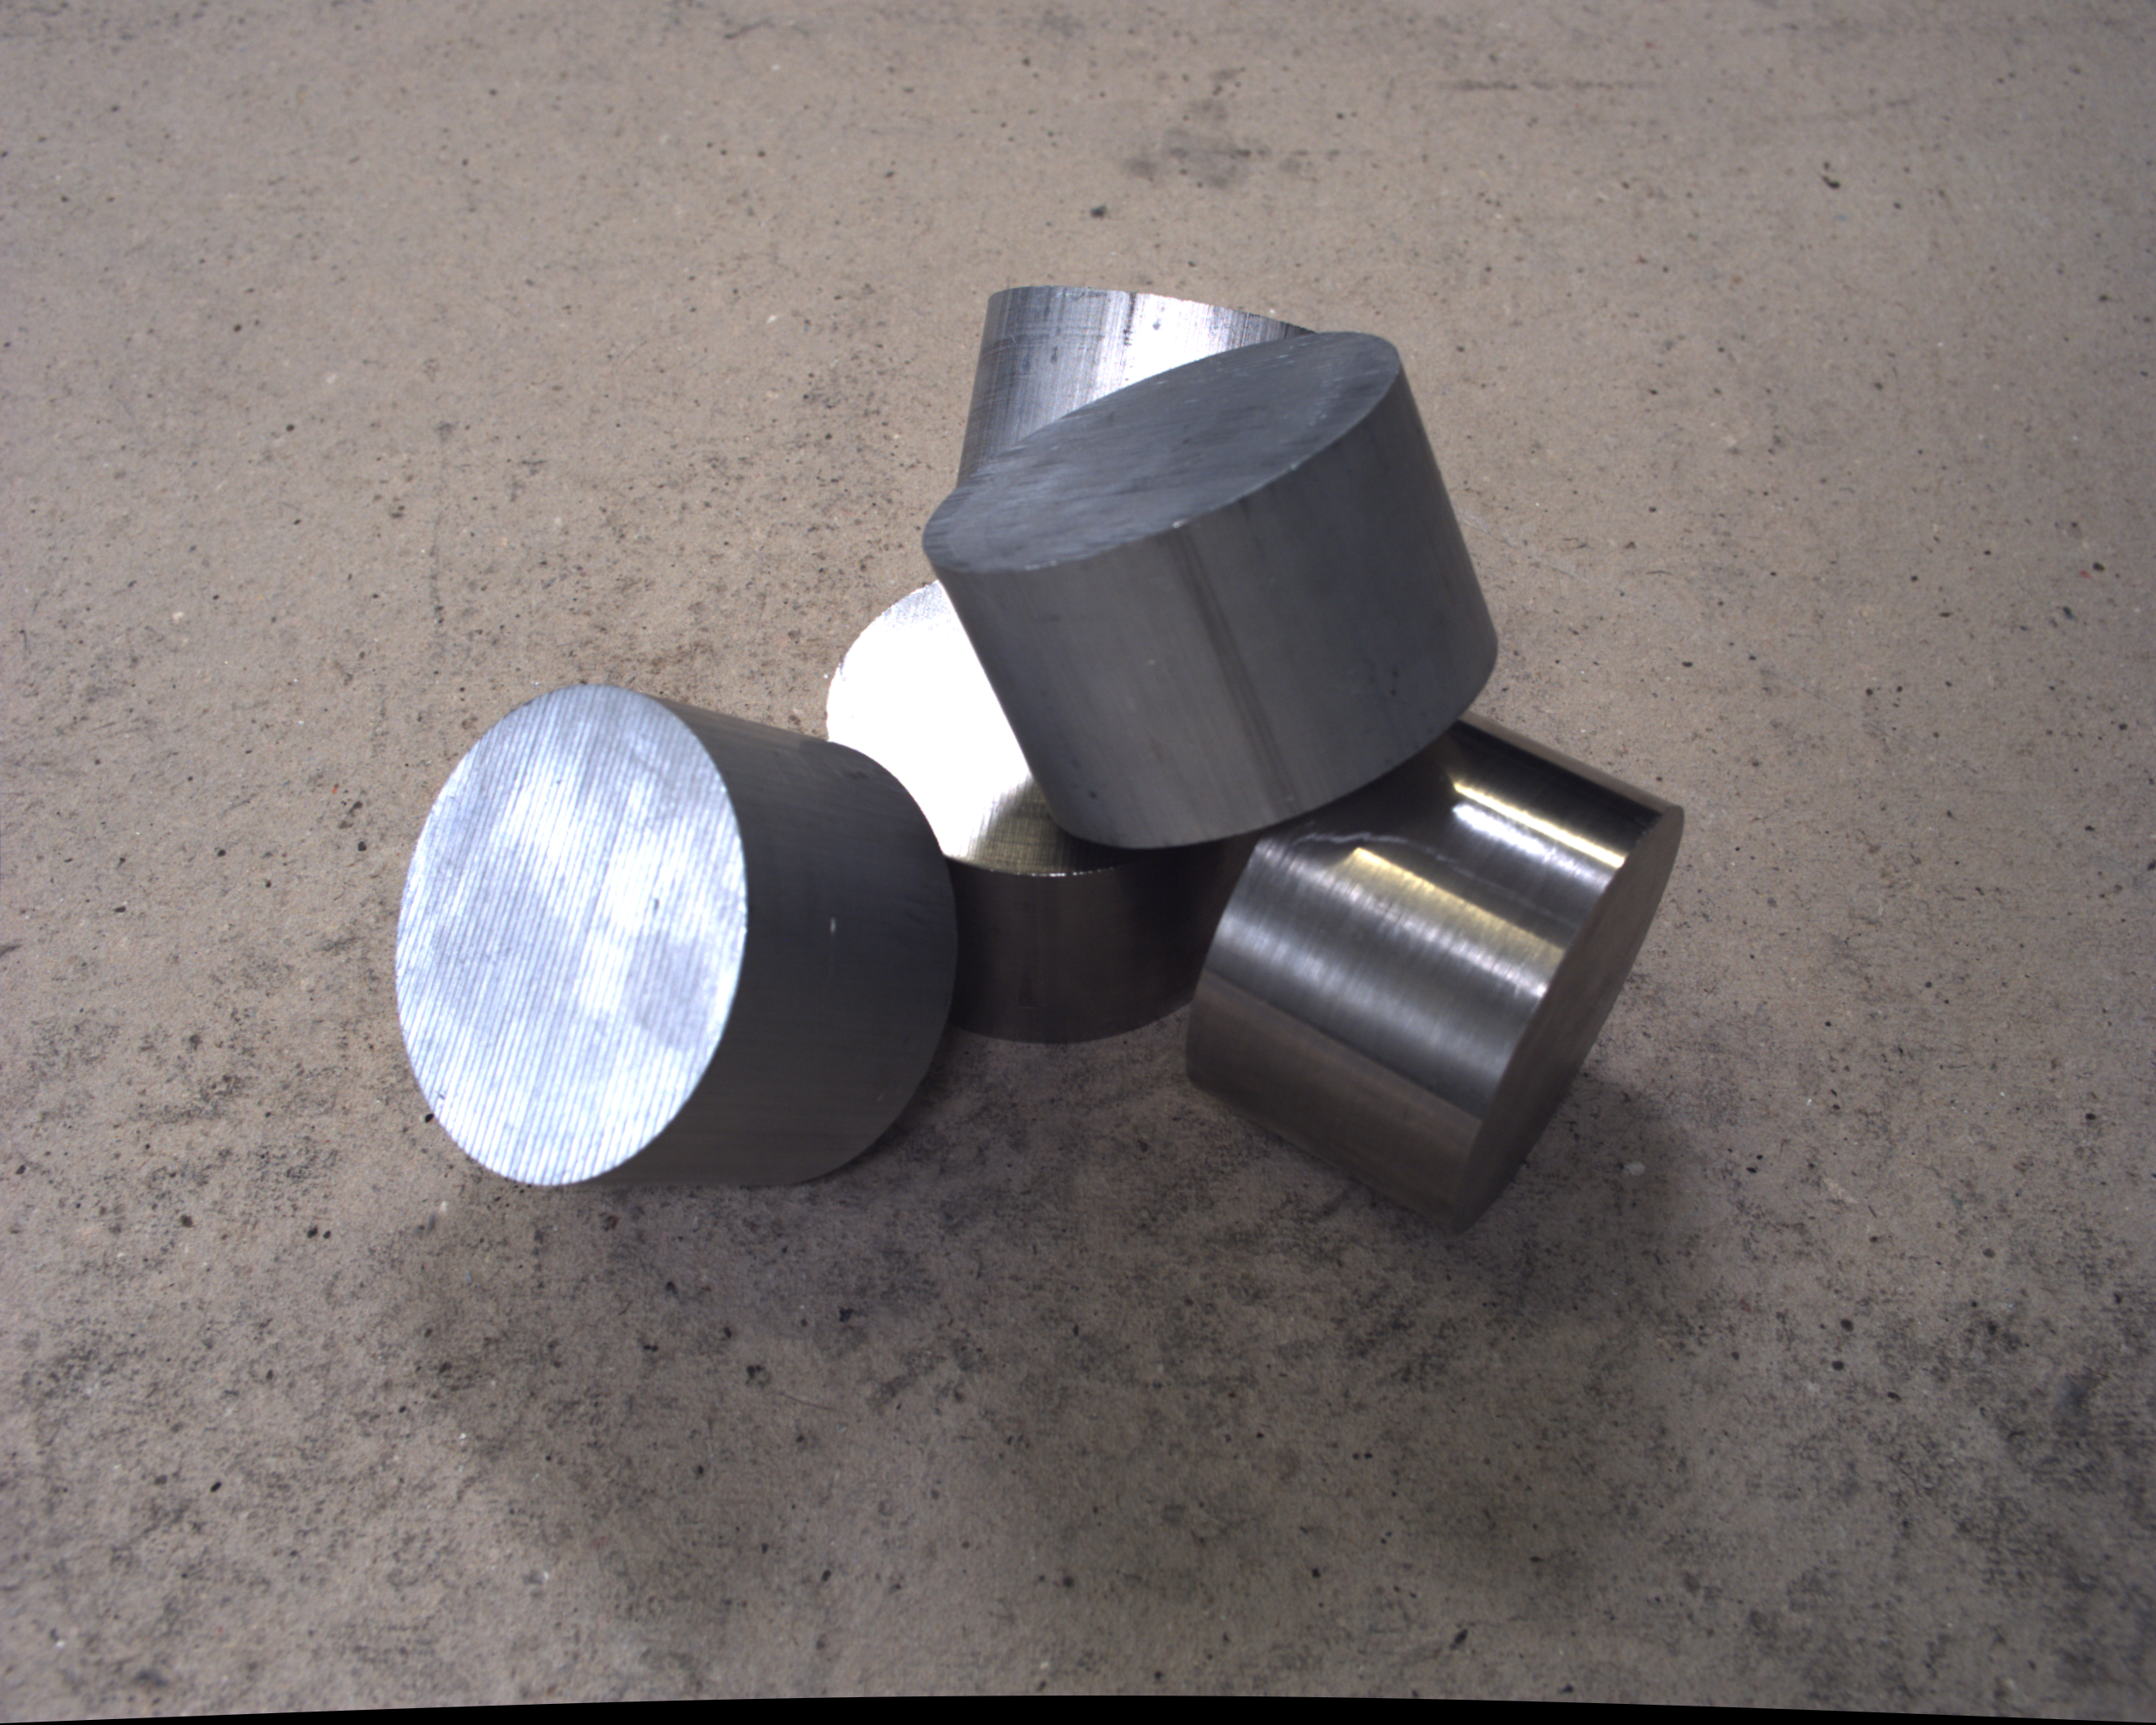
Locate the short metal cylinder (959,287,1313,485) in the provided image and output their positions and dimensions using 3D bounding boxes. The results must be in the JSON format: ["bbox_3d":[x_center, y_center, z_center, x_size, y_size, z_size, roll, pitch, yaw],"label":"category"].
[{"bbox_3d":[0.017,-0.084,0.431,0.080,0.080,0.050,11,94,9],"label":"short metal cylinder"}]

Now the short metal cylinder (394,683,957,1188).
[{"bbox_3d":[-0.068,0.014,0.349,0.080,0.050,0.080,-6,78,34],"label":"short metal cylinder"}]

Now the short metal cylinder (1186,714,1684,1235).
[{"bbox_3d":[0.062,0.016,0.356,0.050,0.080,0.080,28,56,21],"label":"short metal cylinder"}]

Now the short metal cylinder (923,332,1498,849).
[{"bbox_3d":[0.022,-0.045,0.340,0.080,0.050,0.080,-20,26,11],"label":"short metal cylinder"}]

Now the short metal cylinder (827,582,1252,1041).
[{"bbox_3d":[-0.005,-0.013,0.399,0.081,0.050,0.080,0,50,0],"label":"short metal cylinder"}]
